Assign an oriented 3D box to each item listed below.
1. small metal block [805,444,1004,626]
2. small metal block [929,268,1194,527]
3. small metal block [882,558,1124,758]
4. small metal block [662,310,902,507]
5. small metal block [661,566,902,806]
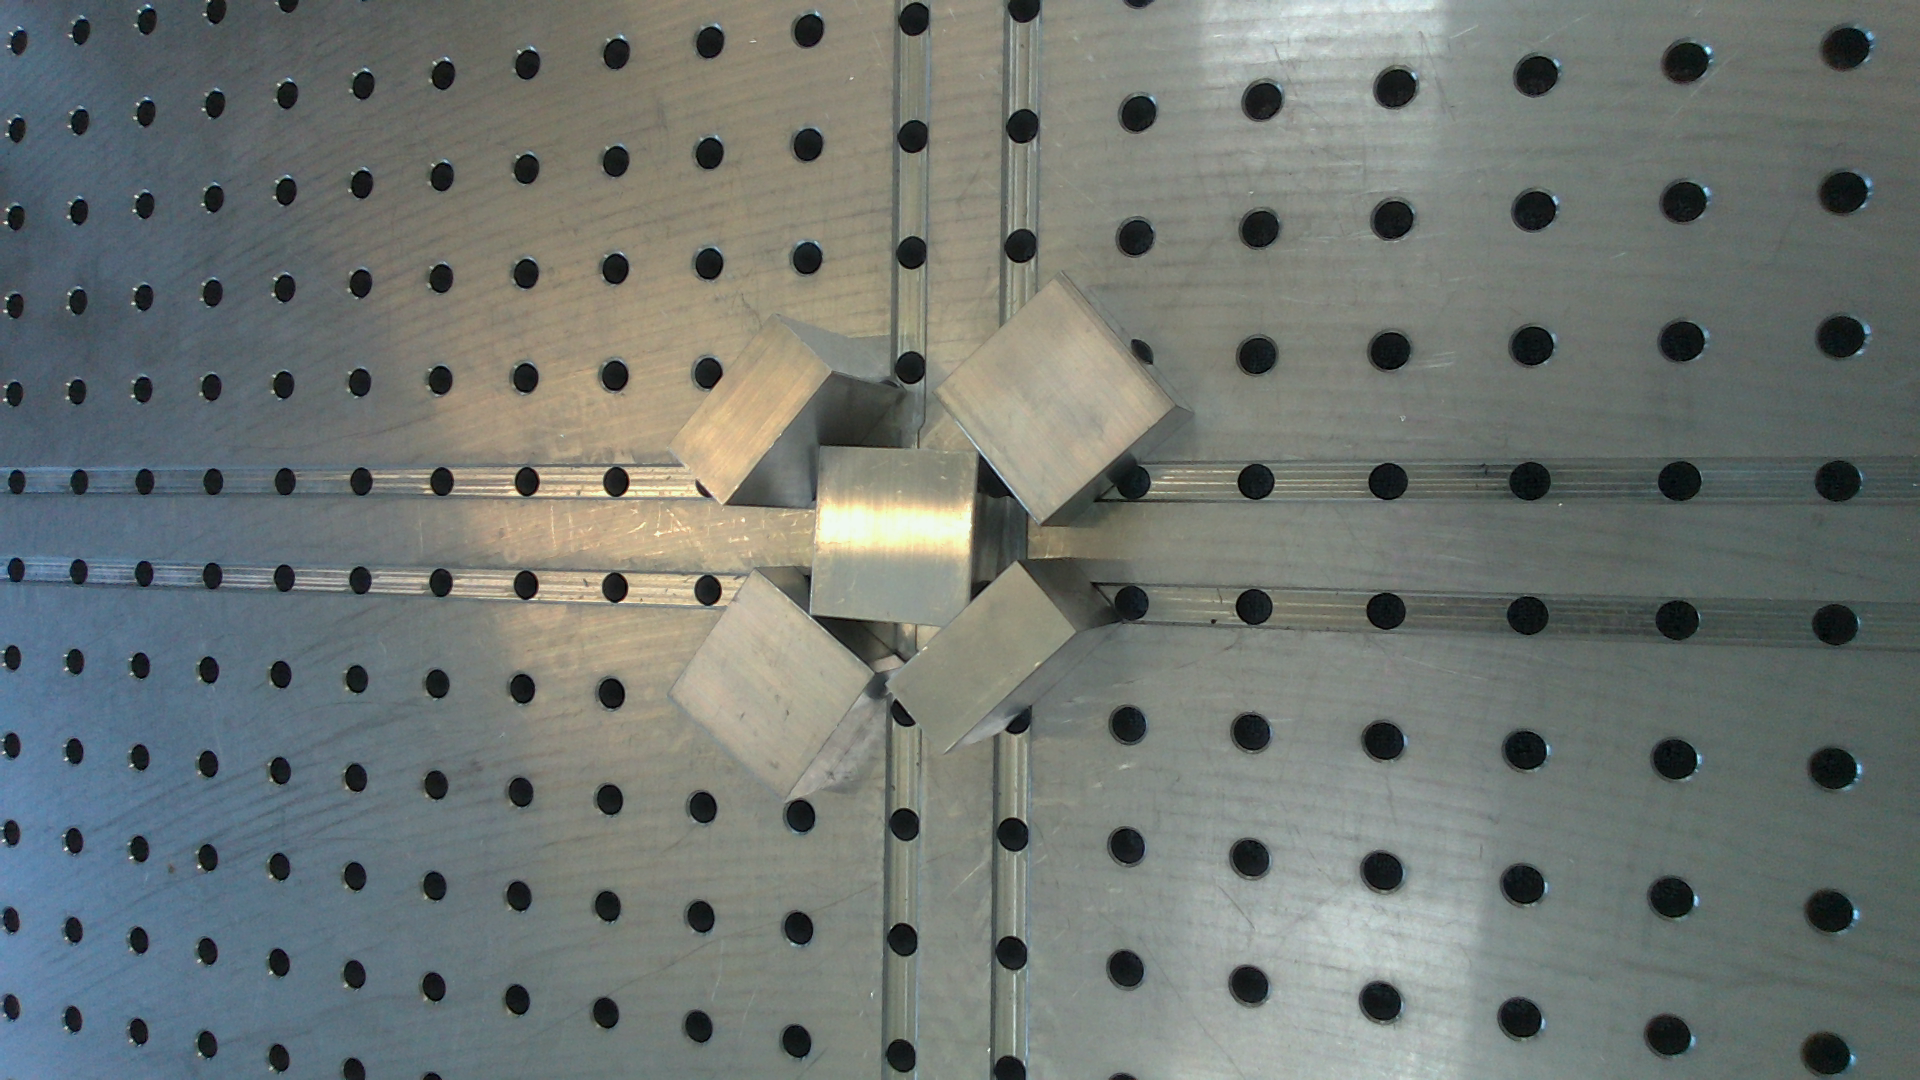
[{"bbox_3d":[-0.016,-0.001,0.403,0.050,0.025,0.050,4,90,21],"label":"small metal block"},{"bbox_3d":[0.029,-0.039,0.388,0.050,0.025,0.050,-42,77,16],"label":"small metal block"},{"bbox_3d":[0.013,0.031,0.380,0.050,0.050,0.025,-44,76,15],"label":"small metal block"},{"bbox_3d":[-0.051,-0.037,0.403,0.025,0.050,0.050,45,105,14],"label":"small metal block"},{"bbox_3d":[-0.053,0.043,0.417,0.050,0.025,0.050,39,102,15],"label":"small metal block"}]
